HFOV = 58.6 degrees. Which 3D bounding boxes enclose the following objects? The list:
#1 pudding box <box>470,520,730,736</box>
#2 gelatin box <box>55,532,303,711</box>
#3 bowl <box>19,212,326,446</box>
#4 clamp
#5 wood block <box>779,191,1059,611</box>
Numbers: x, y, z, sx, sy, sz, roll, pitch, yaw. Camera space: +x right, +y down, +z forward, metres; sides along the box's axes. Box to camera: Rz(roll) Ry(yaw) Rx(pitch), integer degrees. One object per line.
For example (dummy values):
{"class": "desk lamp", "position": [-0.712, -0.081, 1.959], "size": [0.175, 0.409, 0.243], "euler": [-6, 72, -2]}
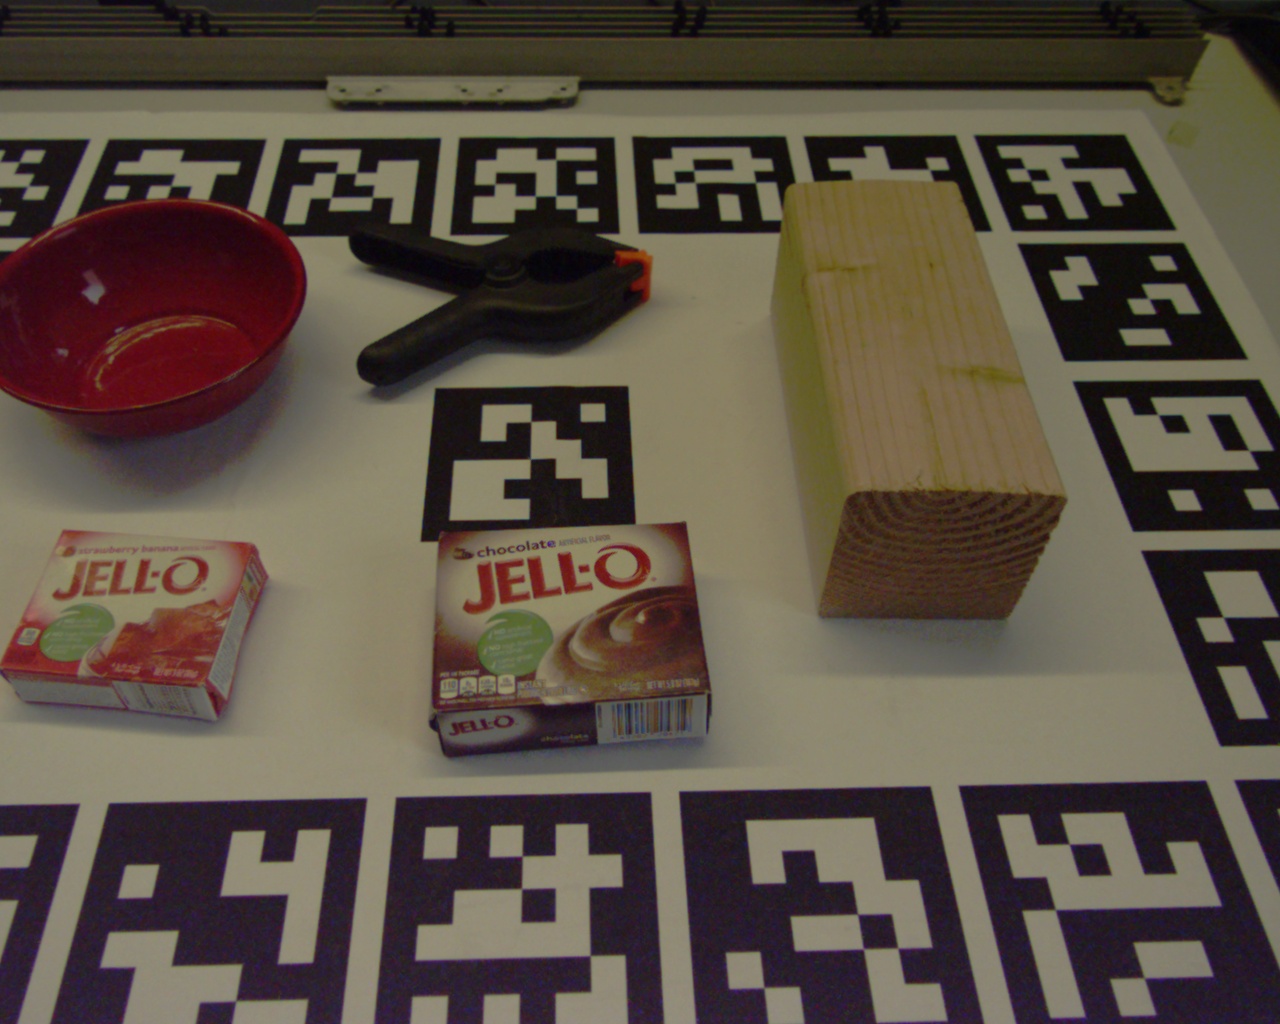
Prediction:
{"class": "pudding box", "position": [-0.020, 0.052, 0.519], "size": [0.114, 0.038, 0.090], "euler": [-4, 56, -2]}
{"class": "gelatin box", "position": [-0.207, 0.048, 0.519], "size": [0.089, 0.030, 0.073], "euler": [5, 54, 2]}
{"class": "bowl", "position": [-0.243, -0.090, 0.619], "size": [0.161, 0.055, 0.162], "euler": [1, 55, -2]}
{"class": "clamp", "position": [-0.085, -0.121, 0.661], "size": [0.164, 0.036, 0.123], "euler": [-9, 53, -11]}
{"class": "wood block", "position": [0.131, -0.061, 0.576], "size": [0.090, 0.091, 0.207], "euler": [1, 53, -3]}
